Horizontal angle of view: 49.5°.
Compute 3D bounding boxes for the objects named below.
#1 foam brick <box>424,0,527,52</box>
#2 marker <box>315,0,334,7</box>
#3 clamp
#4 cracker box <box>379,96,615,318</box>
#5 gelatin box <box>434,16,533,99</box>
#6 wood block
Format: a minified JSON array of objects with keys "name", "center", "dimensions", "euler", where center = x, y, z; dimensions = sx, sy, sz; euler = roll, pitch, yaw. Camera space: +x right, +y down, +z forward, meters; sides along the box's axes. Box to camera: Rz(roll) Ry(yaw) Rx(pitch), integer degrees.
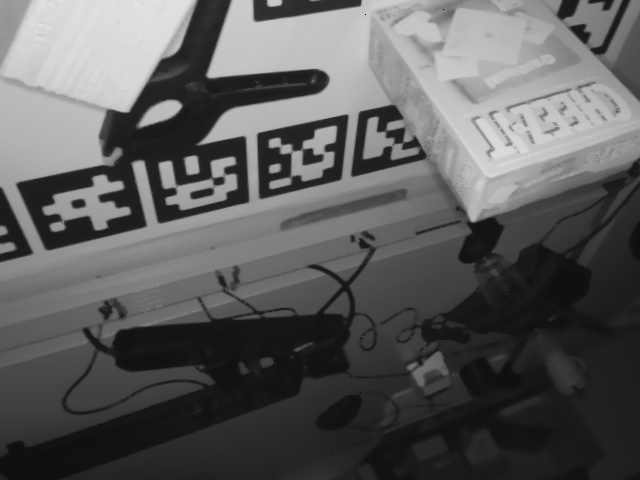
[{"name":"foam brick","center":[0.137,-0.217,0.618],"dimensions":[0.078,0.051,0.053],"euler":[-29,143,2]},{"name":"marker","center":[0.050,-0.227,0.575],"dimensions":[0.121,0.019,0.019],"euler":[-26,143,-2]},{"name":"clamp","center":[-0.080,-0.056,0.694],"dimensions":[0.202,0.036,0.166],"euler":[-32,144,7]},{"name":"cracker box","center":[0.177,-0.044,0.714],"dimensions":[0.166,0.214,0.071],"euler":[-14,144,-14]},{"name":"gelatin box","center":[0.163,-0.184,0.700],"dimensions":[0.090,0.030,0.072],"euler":[-15,141,-17]},{"name":"wood block","center":[-0.096,-0.126,0.556],"dimensions":[0.091,0.091,0.203],"euler":[13,132,-45]}]
